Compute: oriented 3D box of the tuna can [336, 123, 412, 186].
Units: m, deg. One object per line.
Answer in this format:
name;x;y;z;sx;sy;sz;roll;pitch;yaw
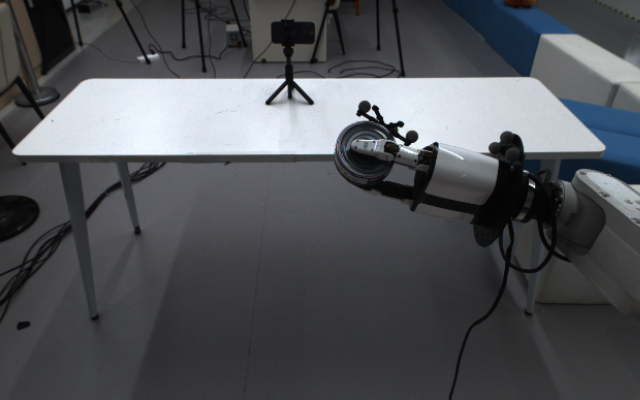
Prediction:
tuna can;0.067;-0.059;0.668;0.085;0.034;0.085;0;74;-1
